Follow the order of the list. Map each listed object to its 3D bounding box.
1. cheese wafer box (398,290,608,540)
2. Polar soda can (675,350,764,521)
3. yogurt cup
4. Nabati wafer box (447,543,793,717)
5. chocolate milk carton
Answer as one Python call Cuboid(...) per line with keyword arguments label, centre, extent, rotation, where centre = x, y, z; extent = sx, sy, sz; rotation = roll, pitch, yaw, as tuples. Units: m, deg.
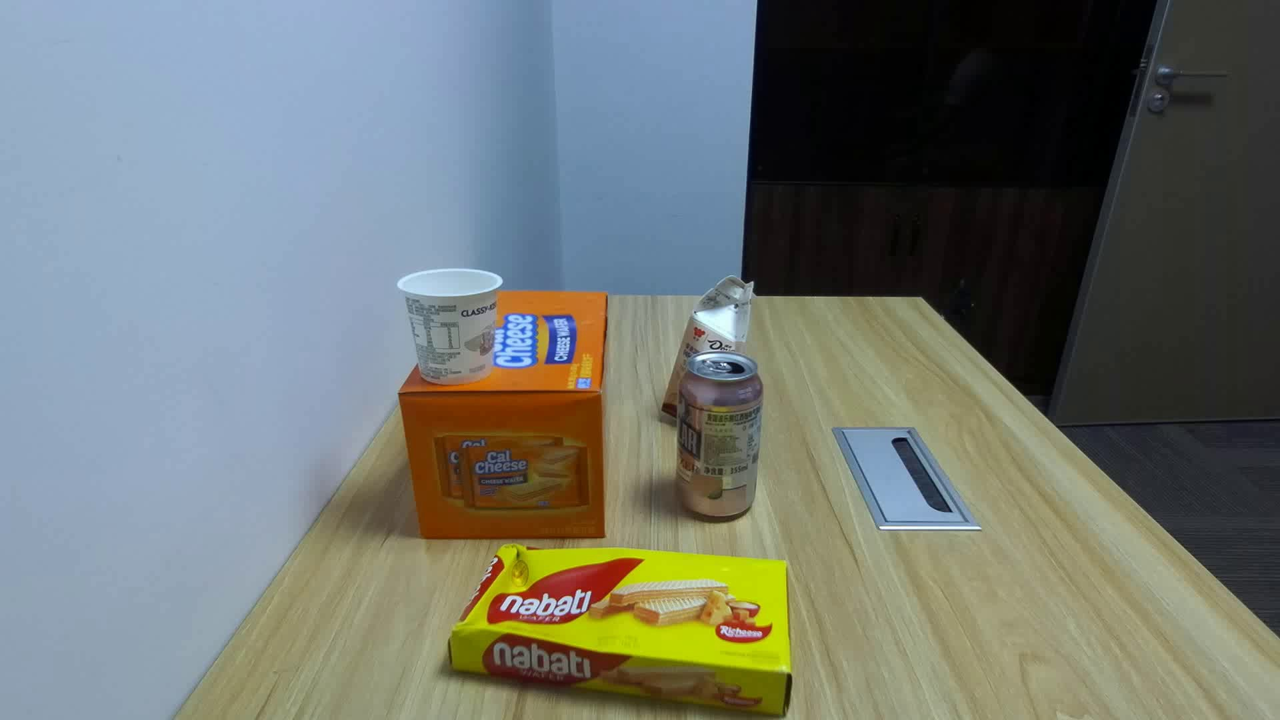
Cuboid(label="cheese wafer box", centre=(-0.100, 0.037, 0.616), extent=(0.148, 0.129, 0.221), rotation=(0, 24, -1))
Cuboid(label="Polar soda can", centre=(0.062, 0.060, 0.562), extent=(0.067, 0.125, 0.067), rotation=(0, 23, 0))
Cuboid(label="yogurt cup", centre=(-0.135, -0.024, 0.510), extent=(0.072, 0.068, 0.072), rotation=(1, 22, 0))
Cuboid(label="Nabati wafer box", centre=(-0.008, 0.159, 0.442), extent=(0.203, 0.042, 0.096), rotation=(4, 26, 10))
Cuboid(label="chocolate milk carton", centre=(0.080, -0.004, 0.682), extent=(0.076, 0.155, 0.090), rotation=(18, 10, 33))
